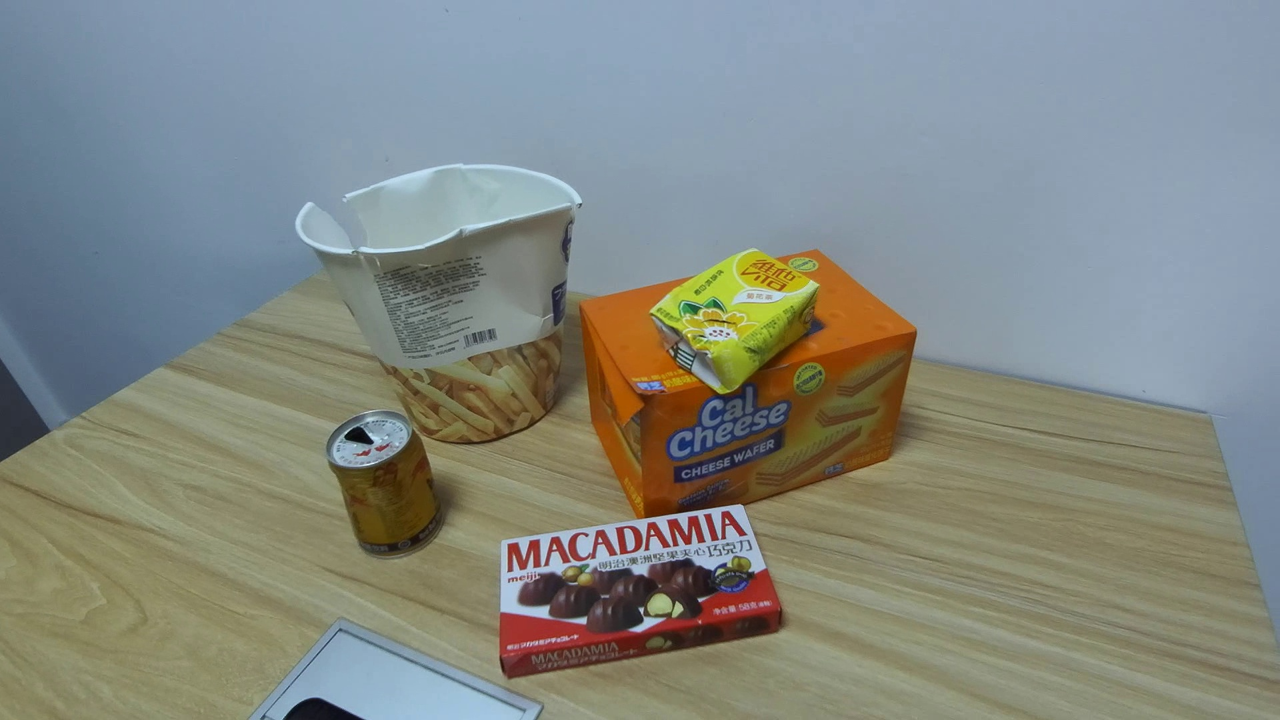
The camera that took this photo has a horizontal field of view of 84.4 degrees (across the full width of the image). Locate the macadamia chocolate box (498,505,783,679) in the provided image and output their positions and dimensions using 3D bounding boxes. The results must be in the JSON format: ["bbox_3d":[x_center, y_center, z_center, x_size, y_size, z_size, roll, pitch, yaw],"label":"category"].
[{"bbox_3d":[-0.004,0.151,0.477,0.178,0.027,0.095,-7,34,-5],"label":"macadamia chocolate box"}]

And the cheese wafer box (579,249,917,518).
[{"bbox_3d":[0.079,0.016,0.570,0.227,0.137,0.149,-13,37,-14],"label":"cheese wafer box"}]

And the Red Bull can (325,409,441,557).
[{"bbox_3d":[-0.187,0.091,0.520,0.068,0.093,0.068,-3,34,2],"label":"Red Bull can"}]

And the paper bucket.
[{"bbox_3d":[-0.157,-0.049,0.619,0.203,0.197,0.145,-22,38,-24],"label":"paper bucket"}]

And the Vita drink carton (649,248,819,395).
[{"bbox_3d":[0.066,-0.027,0.489,0.108,0.042,0.086,-31,51,-29],"label":"Vita drink carton"}]
